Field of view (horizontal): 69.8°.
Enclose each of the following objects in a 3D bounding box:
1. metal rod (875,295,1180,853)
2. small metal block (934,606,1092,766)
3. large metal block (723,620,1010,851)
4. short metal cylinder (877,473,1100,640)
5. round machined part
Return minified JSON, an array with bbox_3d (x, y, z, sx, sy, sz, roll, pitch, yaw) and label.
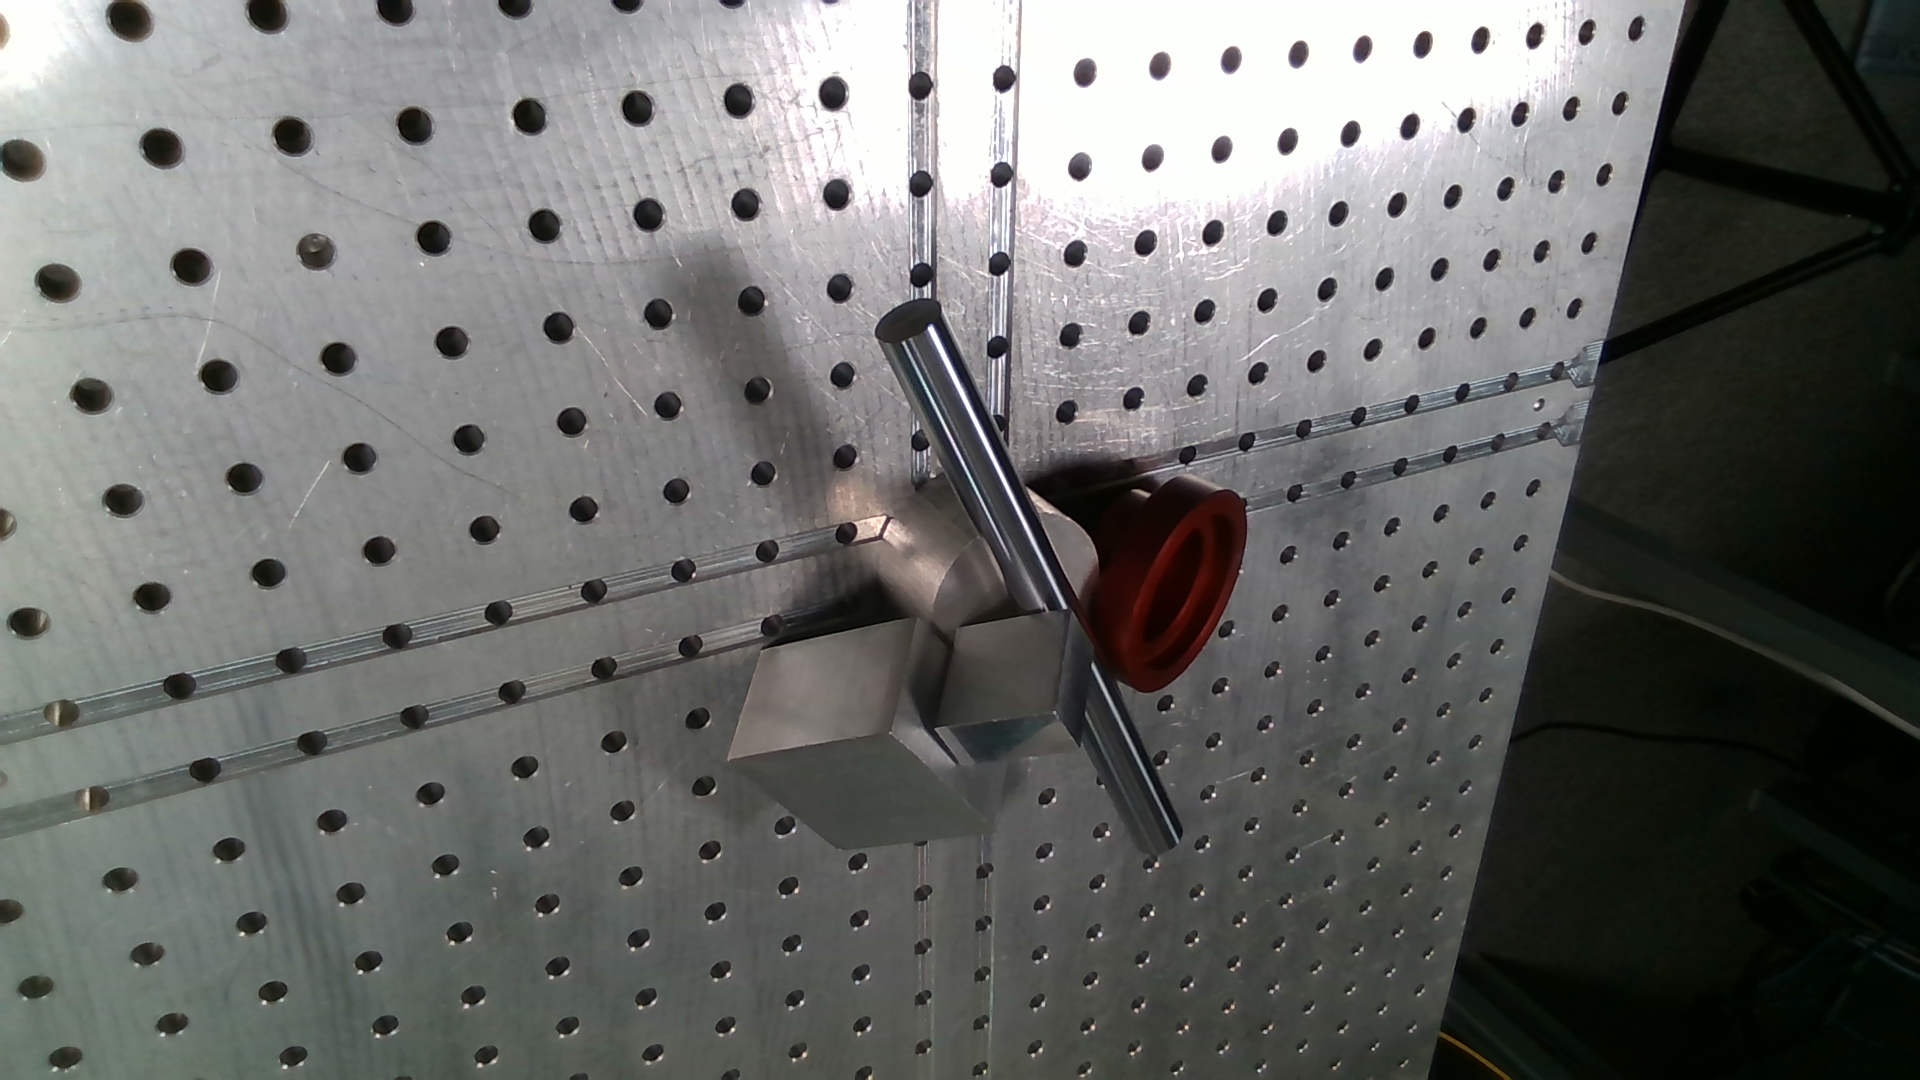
[{"bbox_3d":[0.037,0.031,0.558,0.025,0.025,0.301,-35,128,-11],"label":"metal rod"},{"bbox_3d":[0.022,0.057,0.533,0.050,0.050,0.025,-12,133,25],"label":"small metal block"},{"bbox_3d":[-0.035,0.082,0.561,0.080,0.050,0.080,-14,136,30],"label":"large metal block"},{"bbox_3d":[0.012,0.014,0.582,0.080,0.050,0.080,-14,122,-25],"label":"short metal cylinder"},{"bbox_3d":[0.086,0.015,0.619,0.098,0.042,0.098,-36,140,-38],"label":"round machined part"}]
